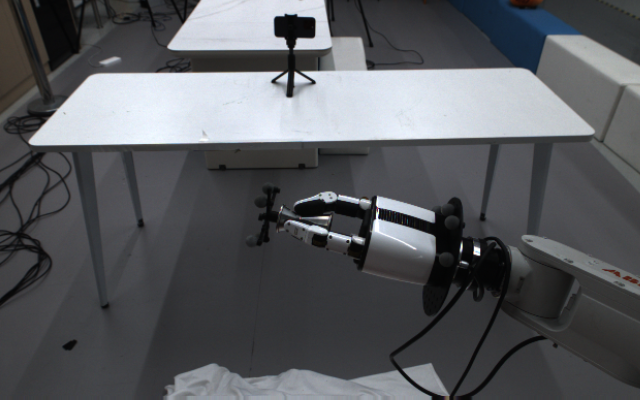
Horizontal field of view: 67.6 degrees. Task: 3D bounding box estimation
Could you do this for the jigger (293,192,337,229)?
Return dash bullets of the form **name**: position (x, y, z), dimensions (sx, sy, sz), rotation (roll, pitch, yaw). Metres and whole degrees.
- **jigger**: position (-0.014, 0.029, 0.643), dimensions (0.071, 0.043, 0.043), rotation (12, 36, 5)
